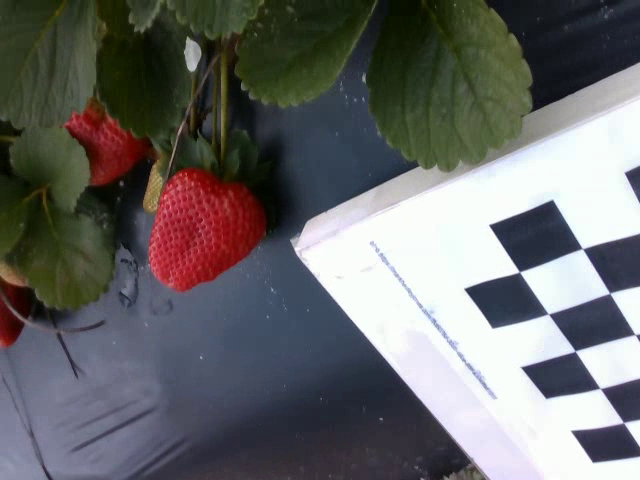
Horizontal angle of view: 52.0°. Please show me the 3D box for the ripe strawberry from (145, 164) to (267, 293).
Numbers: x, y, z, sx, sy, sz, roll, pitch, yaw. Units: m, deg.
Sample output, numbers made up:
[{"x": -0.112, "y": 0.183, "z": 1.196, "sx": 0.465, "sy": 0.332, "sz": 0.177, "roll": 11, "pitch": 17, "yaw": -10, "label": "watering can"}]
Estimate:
[{"x": -0.059, "y": -0.001, "z": 0.300, "sx": 0.056, "sy": 0.065, "sz": 0.057, "roll": 19, "pitch": -29, "yaw": 4, "label": "ripe strawberry"}]
